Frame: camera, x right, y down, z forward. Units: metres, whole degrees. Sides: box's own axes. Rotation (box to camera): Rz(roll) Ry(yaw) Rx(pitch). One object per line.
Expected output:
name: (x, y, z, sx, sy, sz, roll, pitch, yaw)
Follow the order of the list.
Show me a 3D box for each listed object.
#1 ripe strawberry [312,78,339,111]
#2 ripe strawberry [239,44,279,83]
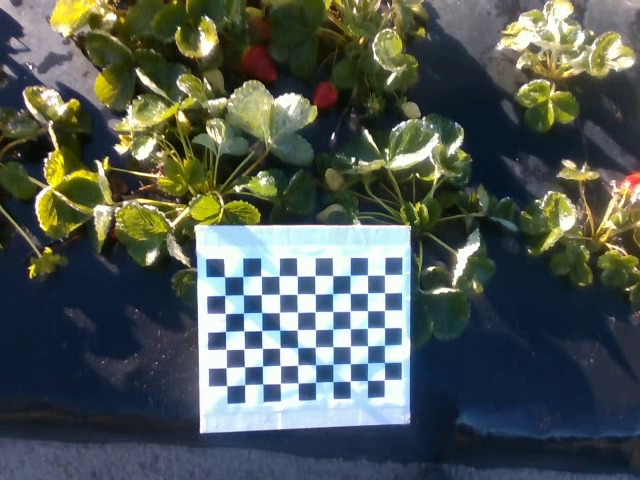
ripe strawberry: (0.006, -0.191, 0.903, 0.039, 0.047, 0.040, 39, -20, -10)
ripe strawberry: (-0.078, -0.232, 0.898, 0.044, 0.056, 0.040, -41, 8, -11)
